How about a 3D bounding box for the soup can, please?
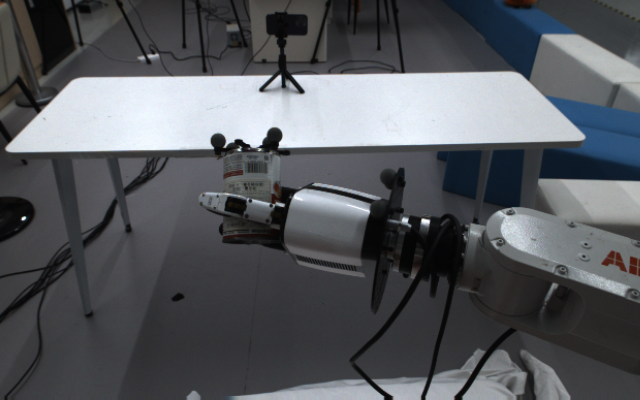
[{"bbox_3d":[-0.076,-0.001,0.552,0.067,0.101,0.067,-1,-9,0],"label":"soup can"}]
